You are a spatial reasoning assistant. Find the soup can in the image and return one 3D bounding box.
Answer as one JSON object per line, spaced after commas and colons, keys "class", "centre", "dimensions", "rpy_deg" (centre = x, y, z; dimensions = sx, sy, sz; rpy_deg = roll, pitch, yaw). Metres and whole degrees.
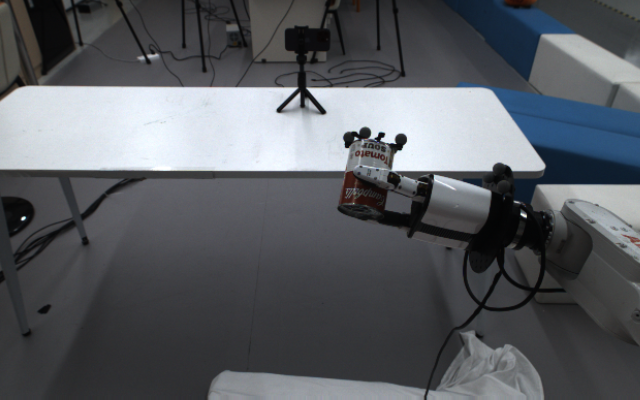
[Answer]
{"class": "soup can", "centre": [0.069, -0.030, 0.700], "dimensions": [0.067, 0.067, 0.101], "rpy_deg": [9, 74, 9]}
